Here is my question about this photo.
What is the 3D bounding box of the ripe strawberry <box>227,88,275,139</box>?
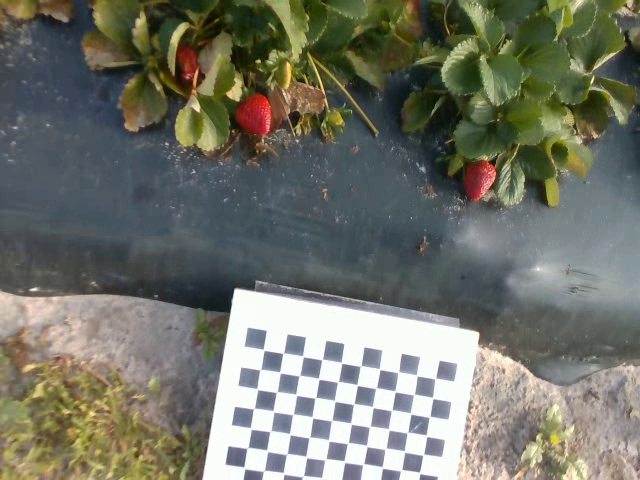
[{"bbox_3d":[-0.045,-0.086,0.474,0.031,0.030,0.026,-27,-17,-9],"label":"ripe strawberry"}]

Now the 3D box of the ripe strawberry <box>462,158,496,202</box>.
[{"bbox_3d":[0.122,-0.044,0.506,0.029,0.036,0.021,12,-11,-4],"label":"ripe strawberry"}]
